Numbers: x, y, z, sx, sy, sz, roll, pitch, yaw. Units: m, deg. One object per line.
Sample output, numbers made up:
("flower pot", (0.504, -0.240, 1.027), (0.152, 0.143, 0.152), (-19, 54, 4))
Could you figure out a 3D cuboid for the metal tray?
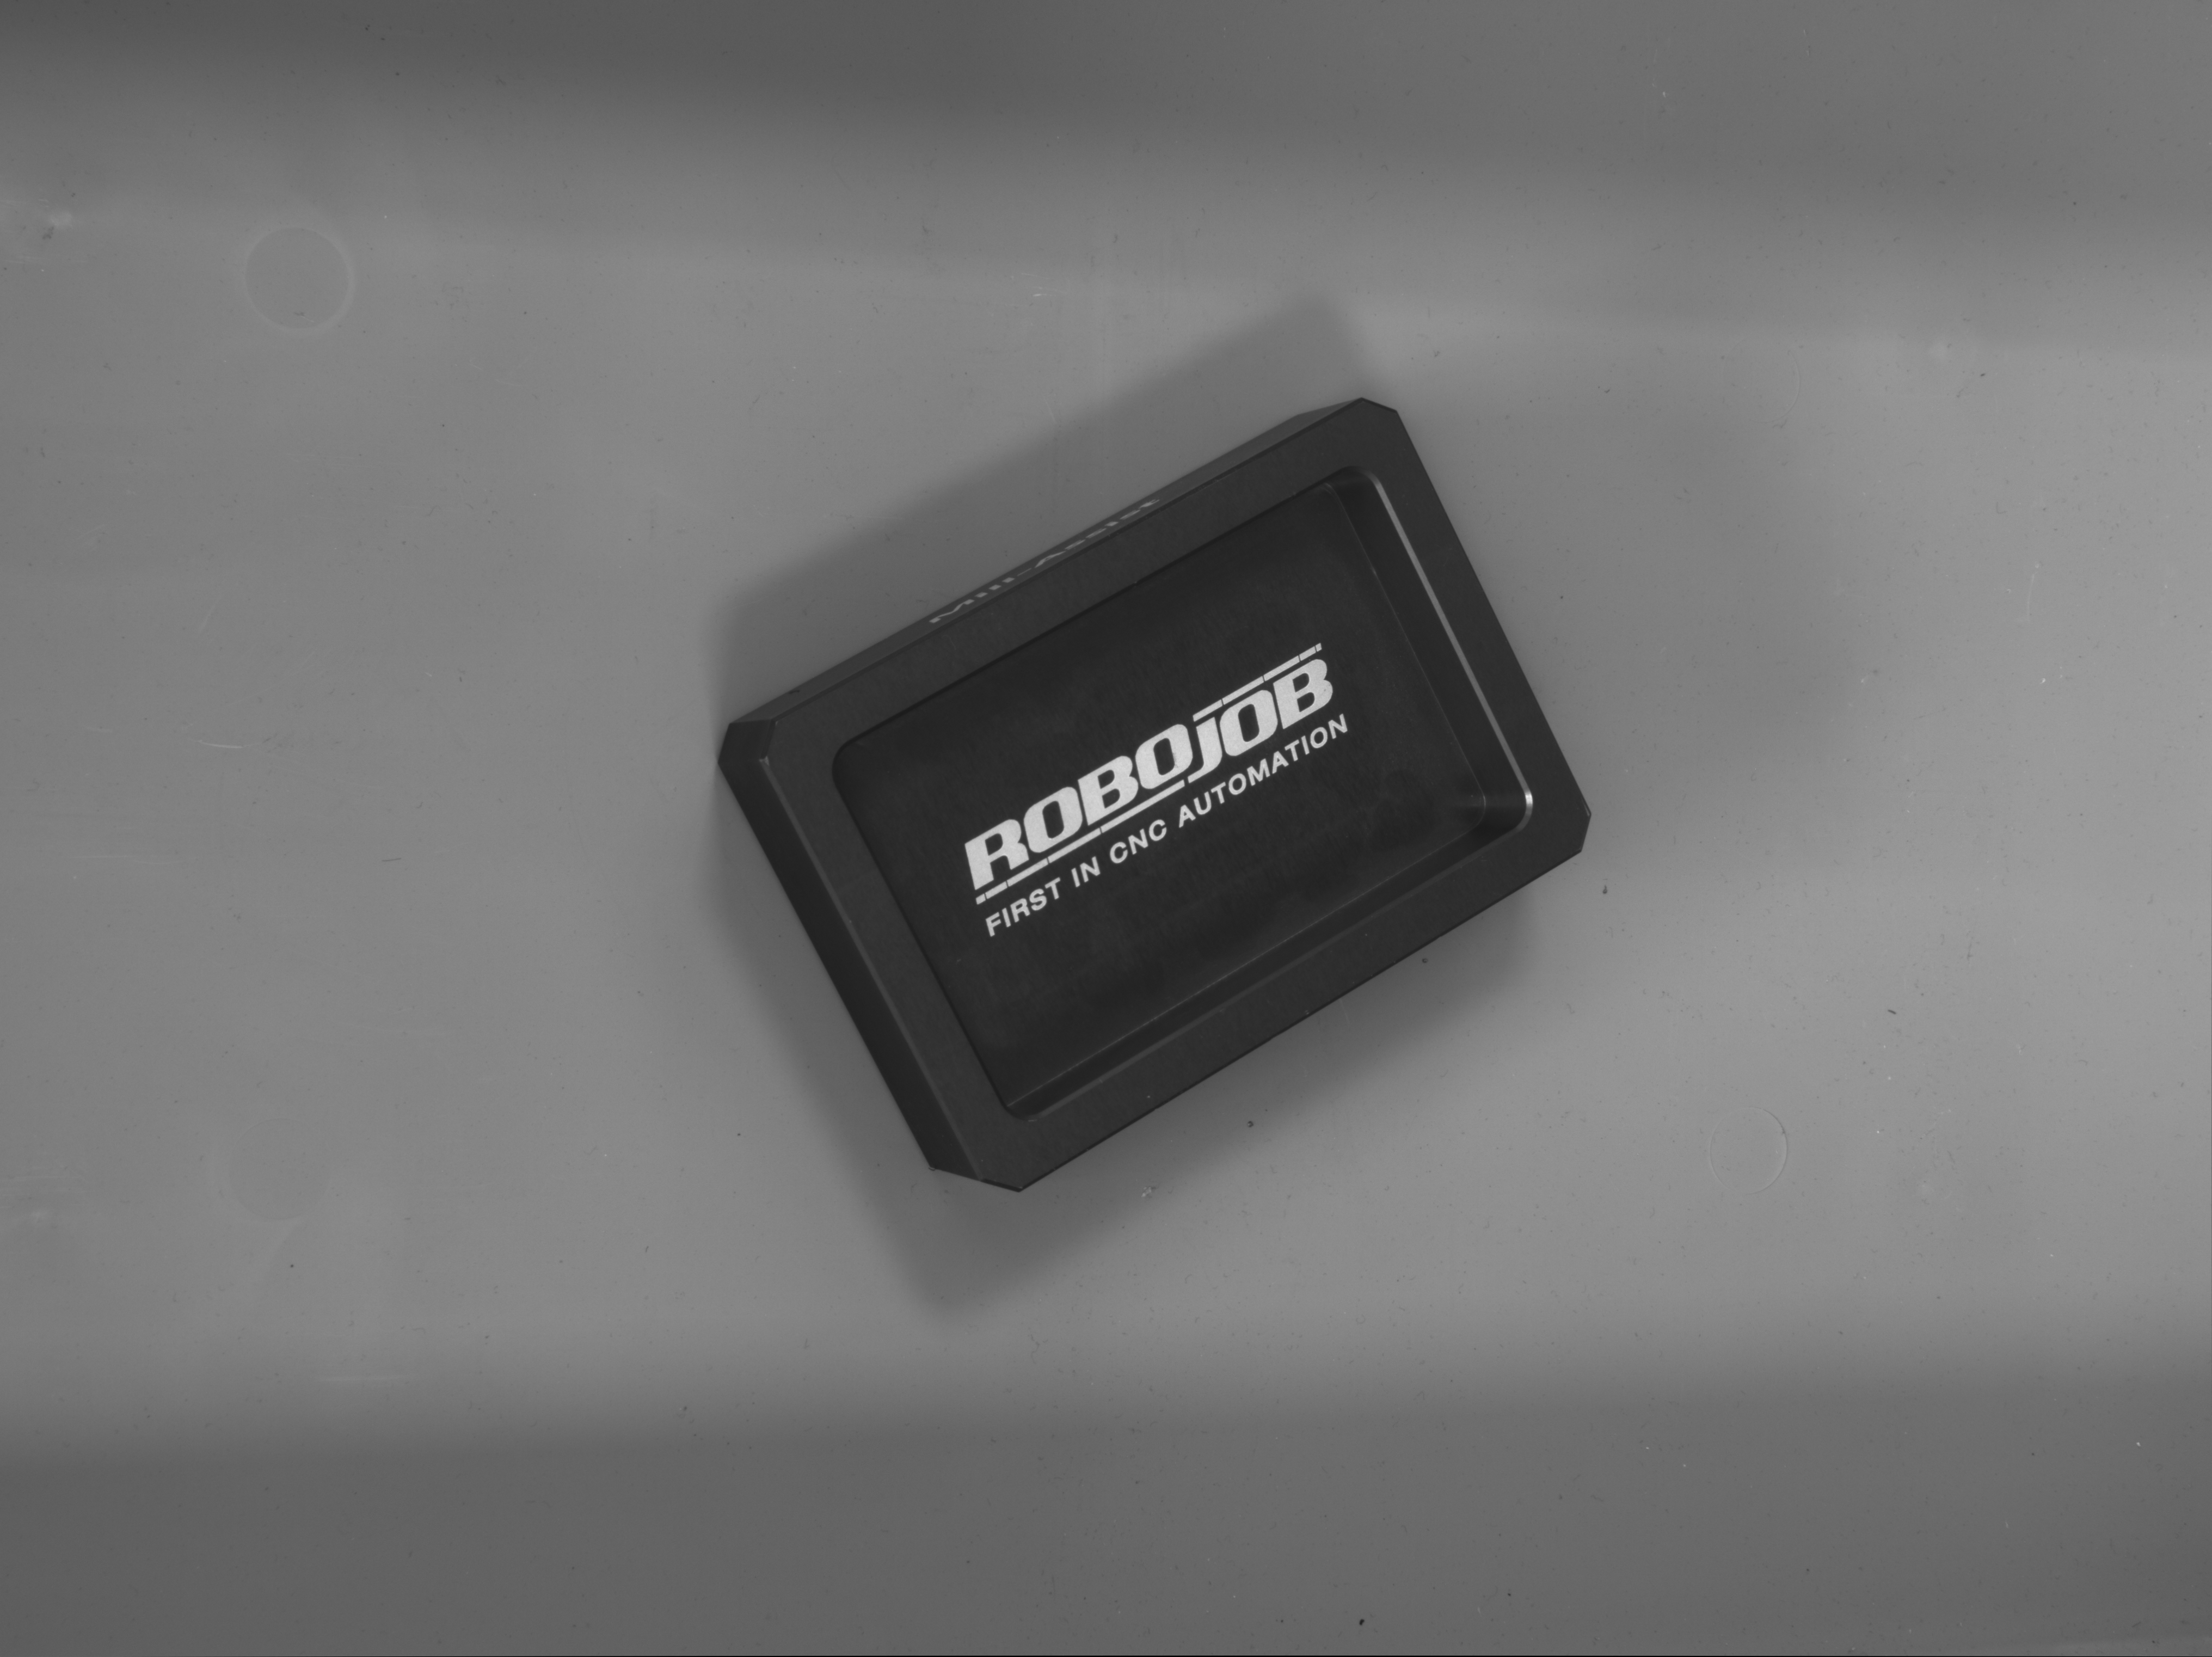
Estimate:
("metal tray", (0.010, -0.007, 0.641), (0.130, 0.030, 0.090), (-30, 100, -18))
